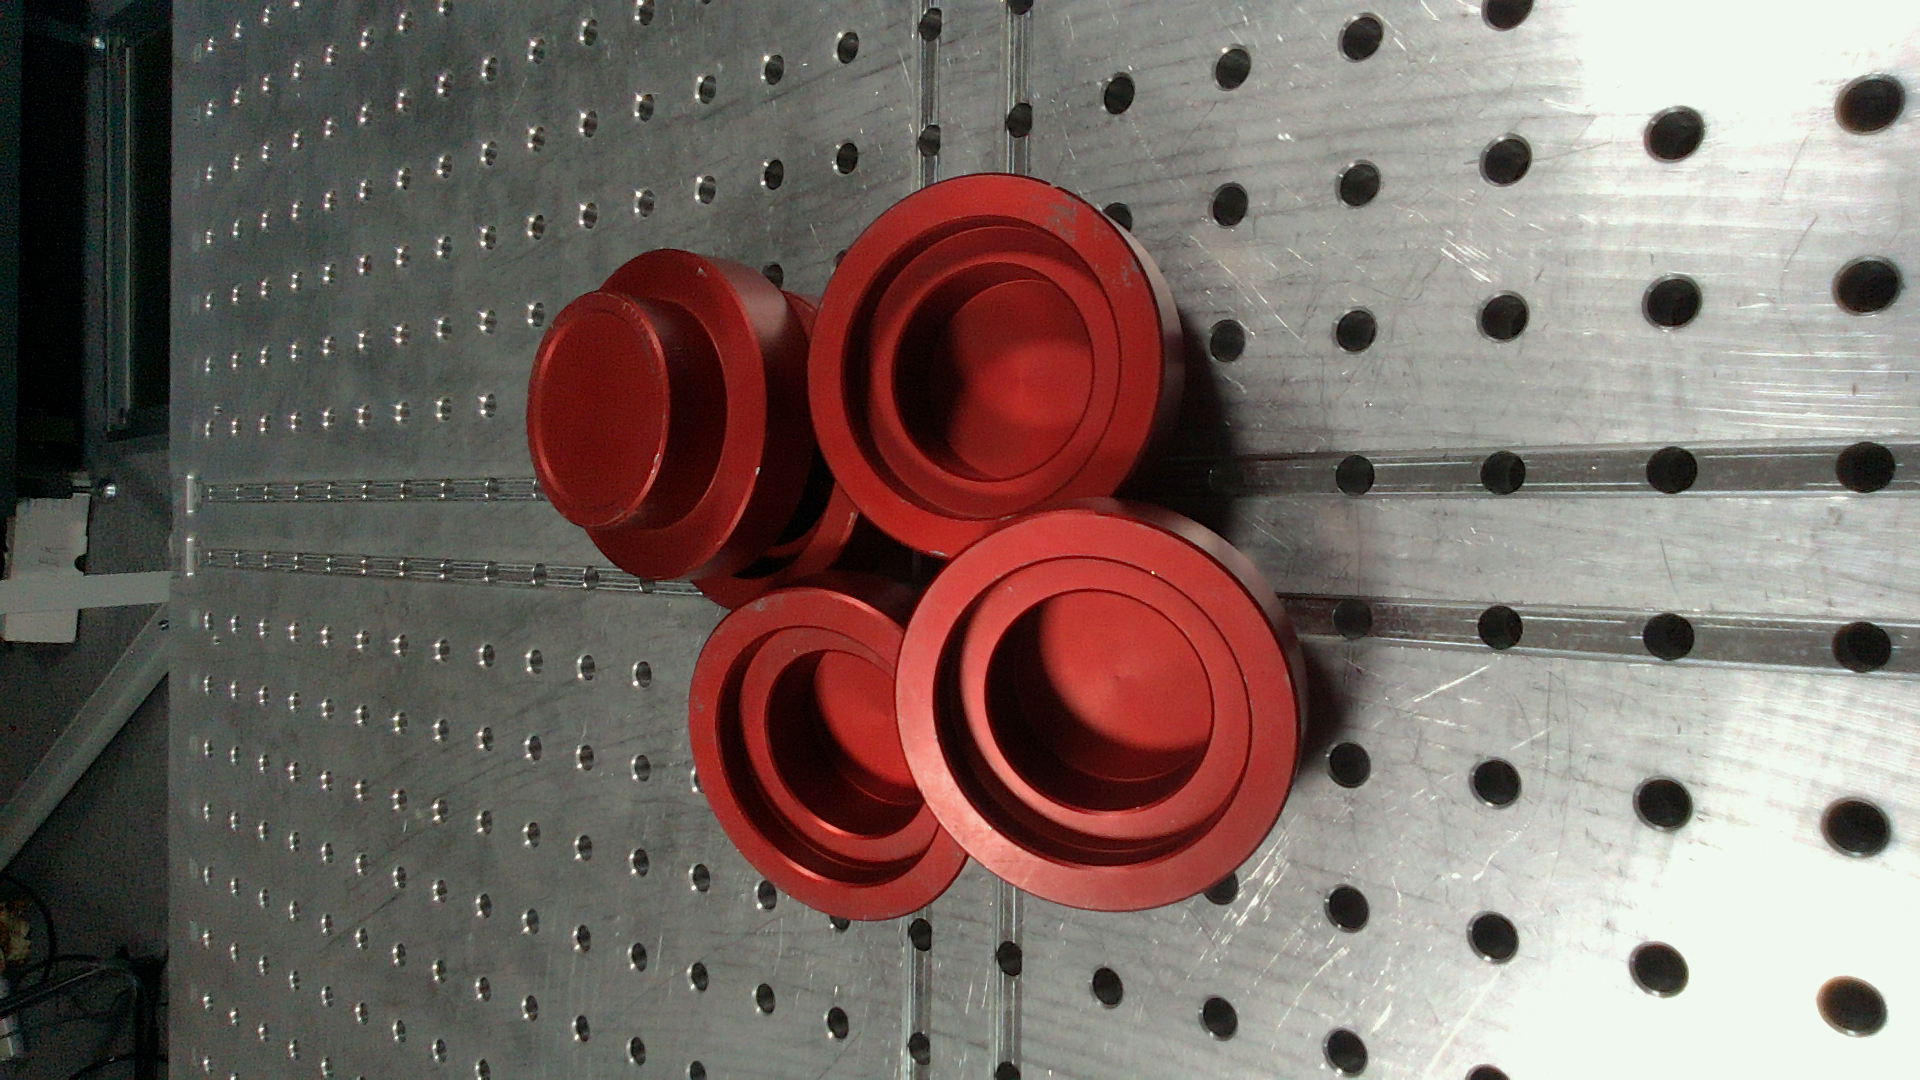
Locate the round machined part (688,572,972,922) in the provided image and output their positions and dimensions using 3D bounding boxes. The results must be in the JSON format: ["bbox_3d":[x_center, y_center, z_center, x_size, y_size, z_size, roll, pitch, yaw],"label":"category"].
[{"bbox_3d":[-0.028,0.056,0.398,0.098,0.042,0.098,9,108,28],"label":"round machined part"}]

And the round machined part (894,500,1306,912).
[{"bbox_3d":[0.037,0.037,0.341,0.098,0.042,0.098,4,101,18],"label":"round machined part"}]

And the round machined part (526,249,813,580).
[{"bbox_3d":[-0.092,-0.037,0.408,0.098,0.042,0.098,0,90,40],"label":"round machined part"}]

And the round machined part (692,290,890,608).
[{"bbox_3d":[-0.050,-0.027,0.428,0.098,0.042,0.098,0,90,40],"label":"round machined part"}]

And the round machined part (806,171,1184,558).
[{"bbox_3d":[0.012,-0.044,0.365,0.098,0.042,0.098,1,91,24],"label":"round machined part"}]
